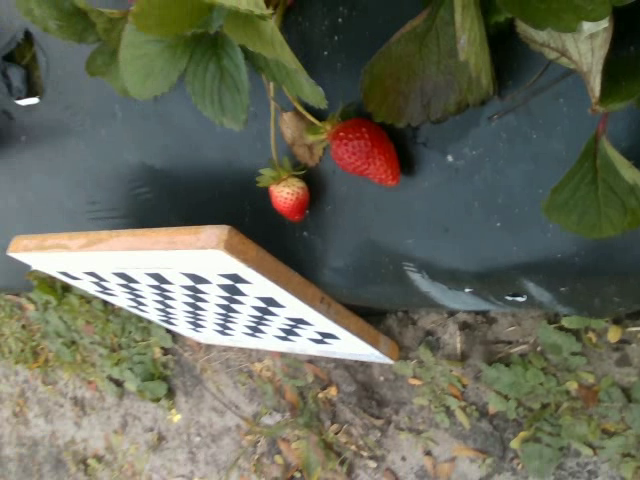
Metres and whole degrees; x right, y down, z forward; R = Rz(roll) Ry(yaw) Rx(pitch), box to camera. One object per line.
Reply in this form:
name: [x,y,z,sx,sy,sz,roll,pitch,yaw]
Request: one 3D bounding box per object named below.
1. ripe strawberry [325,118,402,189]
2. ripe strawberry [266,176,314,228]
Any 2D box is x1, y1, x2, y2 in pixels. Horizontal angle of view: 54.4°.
ripe strawberry: [0.026,-0.050,0.366,0.059,0.042,0.044,39,-10,2]
ripe strawberry: [-0.023,-0.027,0.426,0.036,0.028,0.041,10,-37,42]
